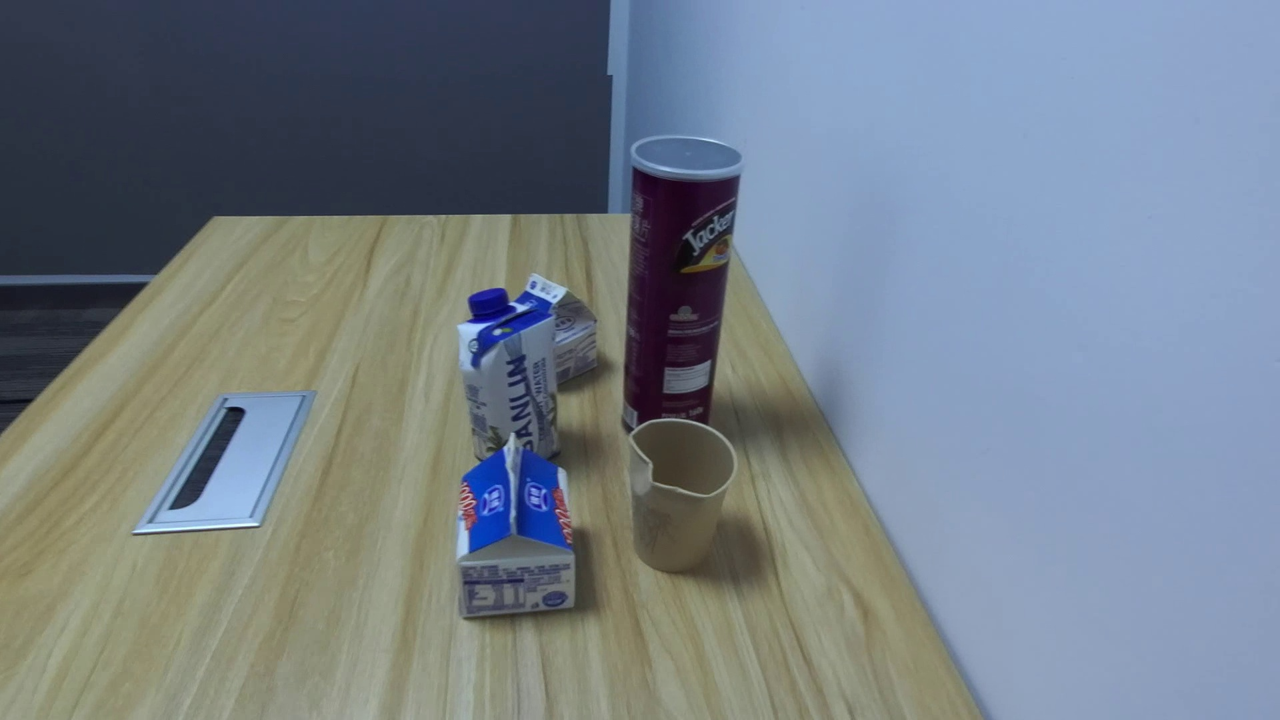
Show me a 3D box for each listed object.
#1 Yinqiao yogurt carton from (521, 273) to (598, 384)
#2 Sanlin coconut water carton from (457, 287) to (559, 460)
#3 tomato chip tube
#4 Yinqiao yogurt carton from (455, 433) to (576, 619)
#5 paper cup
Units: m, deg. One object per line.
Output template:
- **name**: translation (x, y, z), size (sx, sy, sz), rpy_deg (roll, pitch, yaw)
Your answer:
- **Yinqiao yogurt carton**: translation (-0.086, -0.034, 0.648), size (0.077, 0.093, 0.083), rpy_deg (-25, 43, -36)
- **Sanlin coconut water carton**: translation (-0.097, 0.016, 0.536), size (0.057, 0.142, 0.078), rpy_deg (22, 38, 35)
- **tomato chip tube**: translation (0.027, -0.044, 0.545), size (0.078, 0.234, 0.078), rpy_deg (2, 33, -1)
- **Yinqiao yogurt carton**: translation (-0.080, 0.103, 0.450), size (0.074, 0.092, 0.075), rpy_deg (-2, 35, -9)
- **paper cup**: translation (0.025, 0.093, 0.474), size (0.073, 0.081, 0.069), rpy_deg (11, 34, 11)
